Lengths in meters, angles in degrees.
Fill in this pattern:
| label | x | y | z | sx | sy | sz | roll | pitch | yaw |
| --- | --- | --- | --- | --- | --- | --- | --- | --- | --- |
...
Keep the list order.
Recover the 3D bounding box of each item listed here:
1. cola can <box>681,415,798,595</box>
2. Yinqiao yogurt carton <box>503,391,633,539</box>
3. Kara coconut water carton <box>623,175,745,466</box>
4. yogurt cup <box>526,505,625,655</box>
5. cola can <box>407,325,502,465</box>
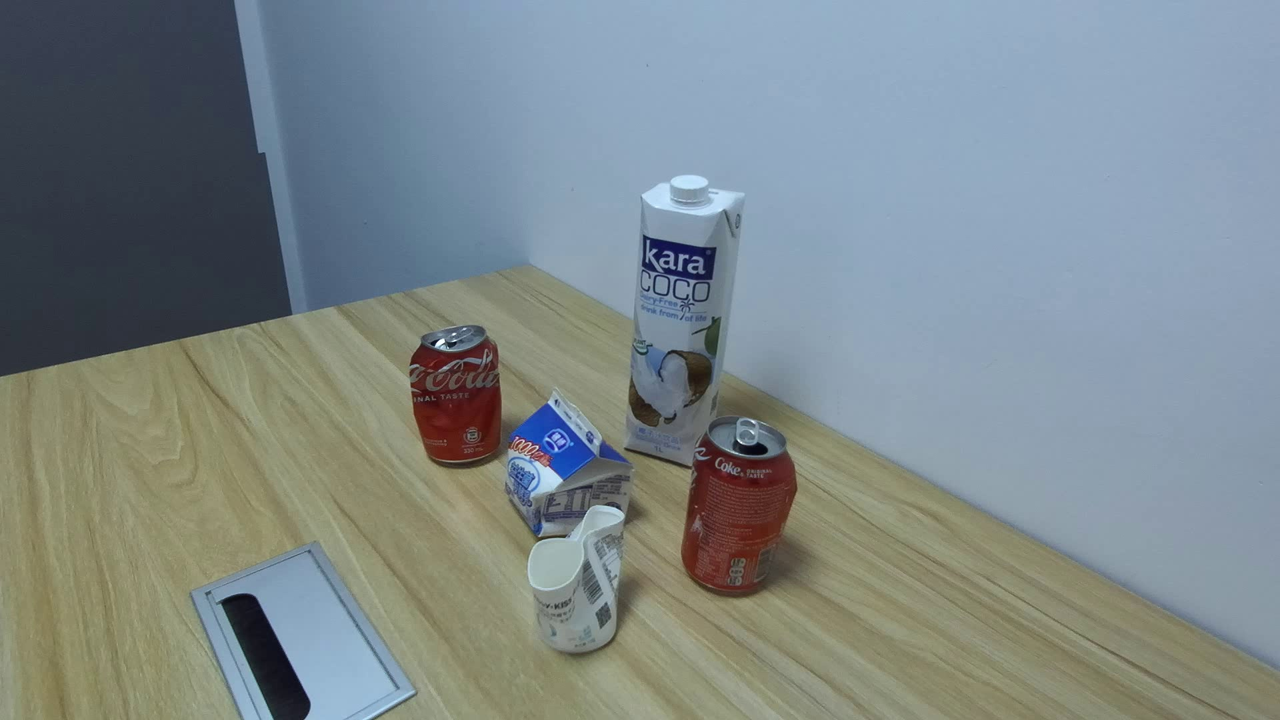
| label | x | y | z | sx | sy | sz | roll | pitch | yaw |
| --- | --- | --- | --- | --- | --- | --- | --- | --- | --- |
| cola can | 0.063 | 0.099 | 0.489 | 0.066 | 0.117 | 0.072 | -21 | 37 | -37 |
| Yinqiao yogurt carton | -0.055 | 0.078 | 0.535 | 0.081 | 0.097 | 0.074 | -7 | 29 | -33 |
| Kara coconut water carton | 0.035 | -0.033 | 0.595 | 0.077 | 0.245 | 0.075 | 13 | 28 | 18 |
| yogurt cup | -0.039 | 0.140 | 0.445 | 0.053 | 0.071 | 0.075 | 6 | 30 | 1 |
| cola can | -0.152 | 0.028 | 0.604 | 0.069 | 0.112 | 0.065 | 3 | 27 | -1 |
